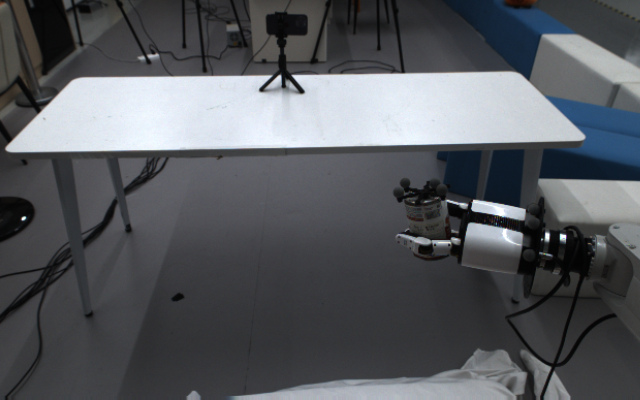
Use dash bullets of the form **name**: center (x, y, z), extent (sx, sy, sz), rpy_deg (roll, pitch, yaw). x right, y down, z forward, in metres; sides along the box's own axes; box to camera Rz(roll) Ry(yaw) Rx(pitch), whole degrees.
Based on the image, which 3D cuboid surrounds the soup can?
- **soup can**: center (0.179, 0.038, 0.787), extent (0.067, 0.101, 0.067), rpy_deg (-13, 20, 5)
